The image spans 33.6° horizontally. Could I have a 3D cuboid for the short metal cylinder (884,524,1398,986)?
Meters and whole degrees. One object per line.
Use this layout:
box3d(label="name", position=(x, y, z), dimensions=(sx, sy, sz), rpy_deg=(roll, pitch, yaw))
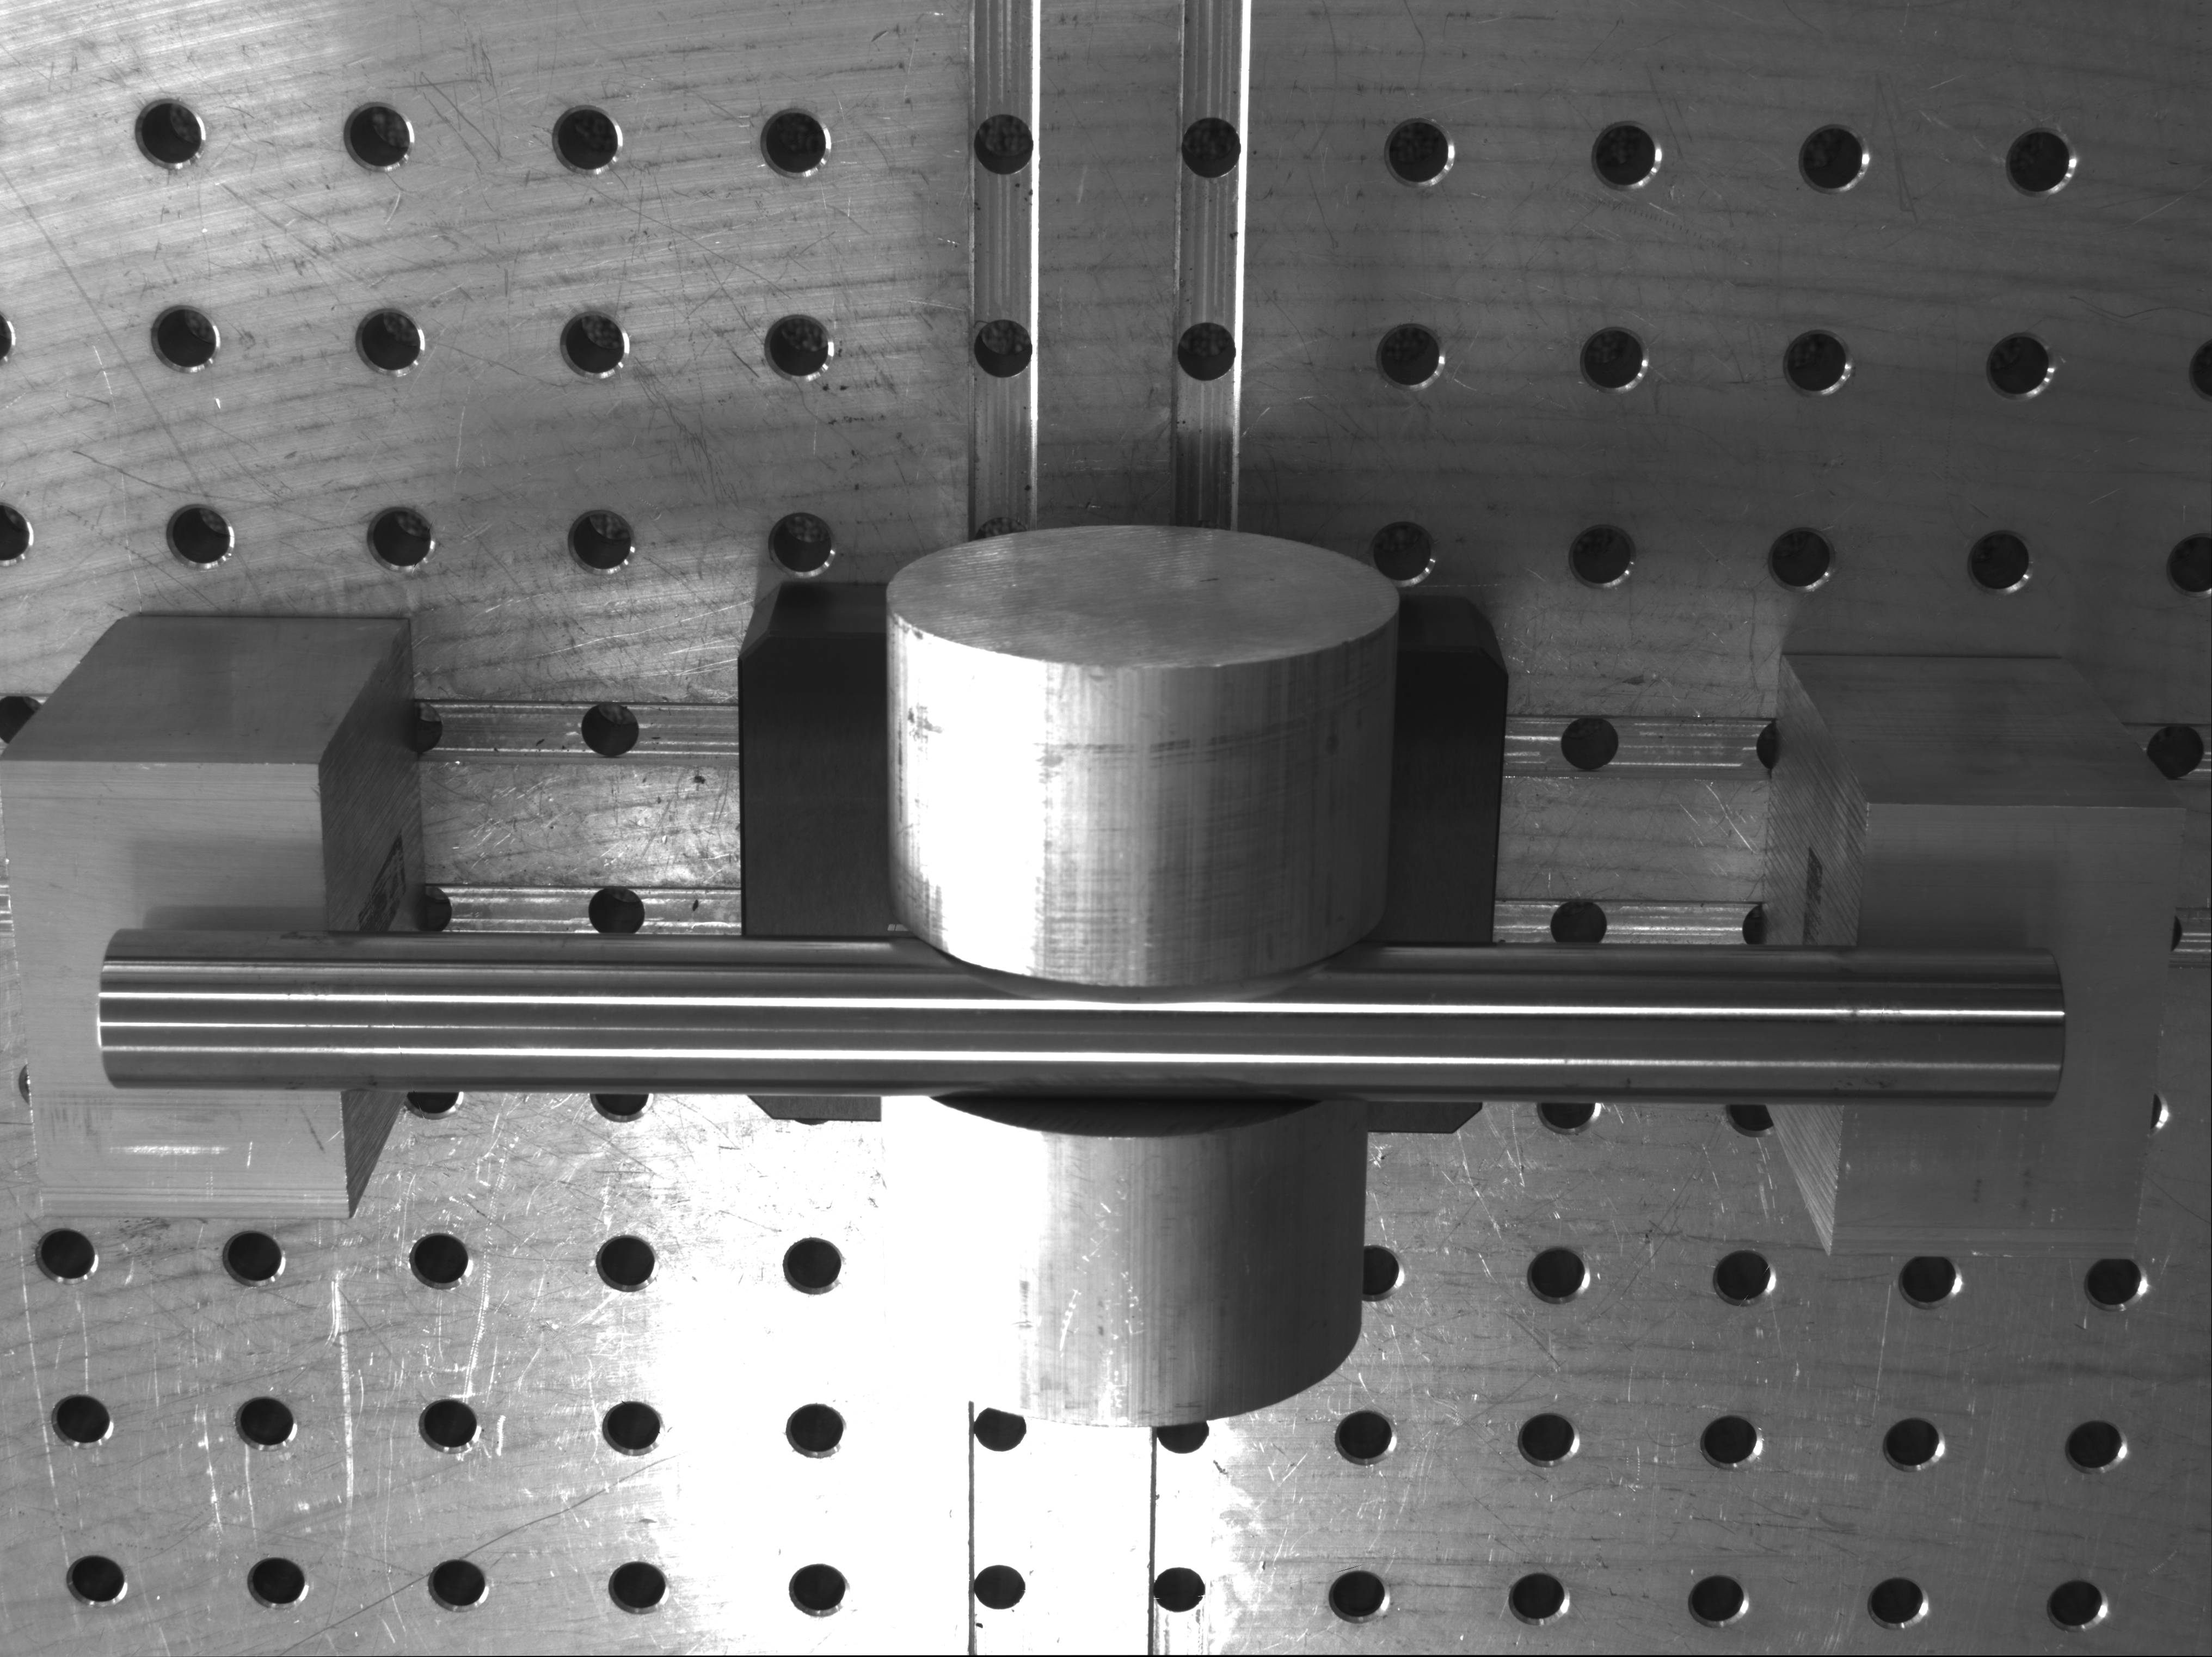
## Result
box3d(label="short metal cylinder", position=(0.005, -0.013, 0.580), dimensions=(0.080, 0.080, 0.050), rpy_deg=(1, 110, 0))

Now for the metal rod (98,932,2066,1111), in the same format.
box3d(label="metal rod", position=(-0.003, 0.030, 0.571), dimensions=(0.300, 0.025, 0.025), rpy_deg=(1, 110, 0))

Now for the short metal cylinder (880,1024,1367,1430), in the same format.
box3d(label="short metal cylinder", position=(0.003, 0.057, 0.606), dimensions=(0.080, 0.080, 0.050), rpy_deg=(1, 110, 0))

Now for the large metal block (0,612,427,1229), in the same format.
box3d(label="large metal block", position=(-0.148, 0.014, 0.620), dimensions=(0.050, 0.080, 0.080), rpy_deg=(1, 110, 0))

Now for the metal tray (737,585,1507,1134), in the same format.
box3d(label="metal tray", position=(0.002, 0.006, 0.645), dimensions=(0.130, 0.030, 0.090), rpy_deg=(1, 110, -1))

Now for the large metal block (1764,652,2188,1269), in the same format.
box3d(label="large metal block", position=(0.144, 0.020, 0.623), dimensions=(0.050, 0.080, 0.080), rpy_deg=(1, 110, 0))
